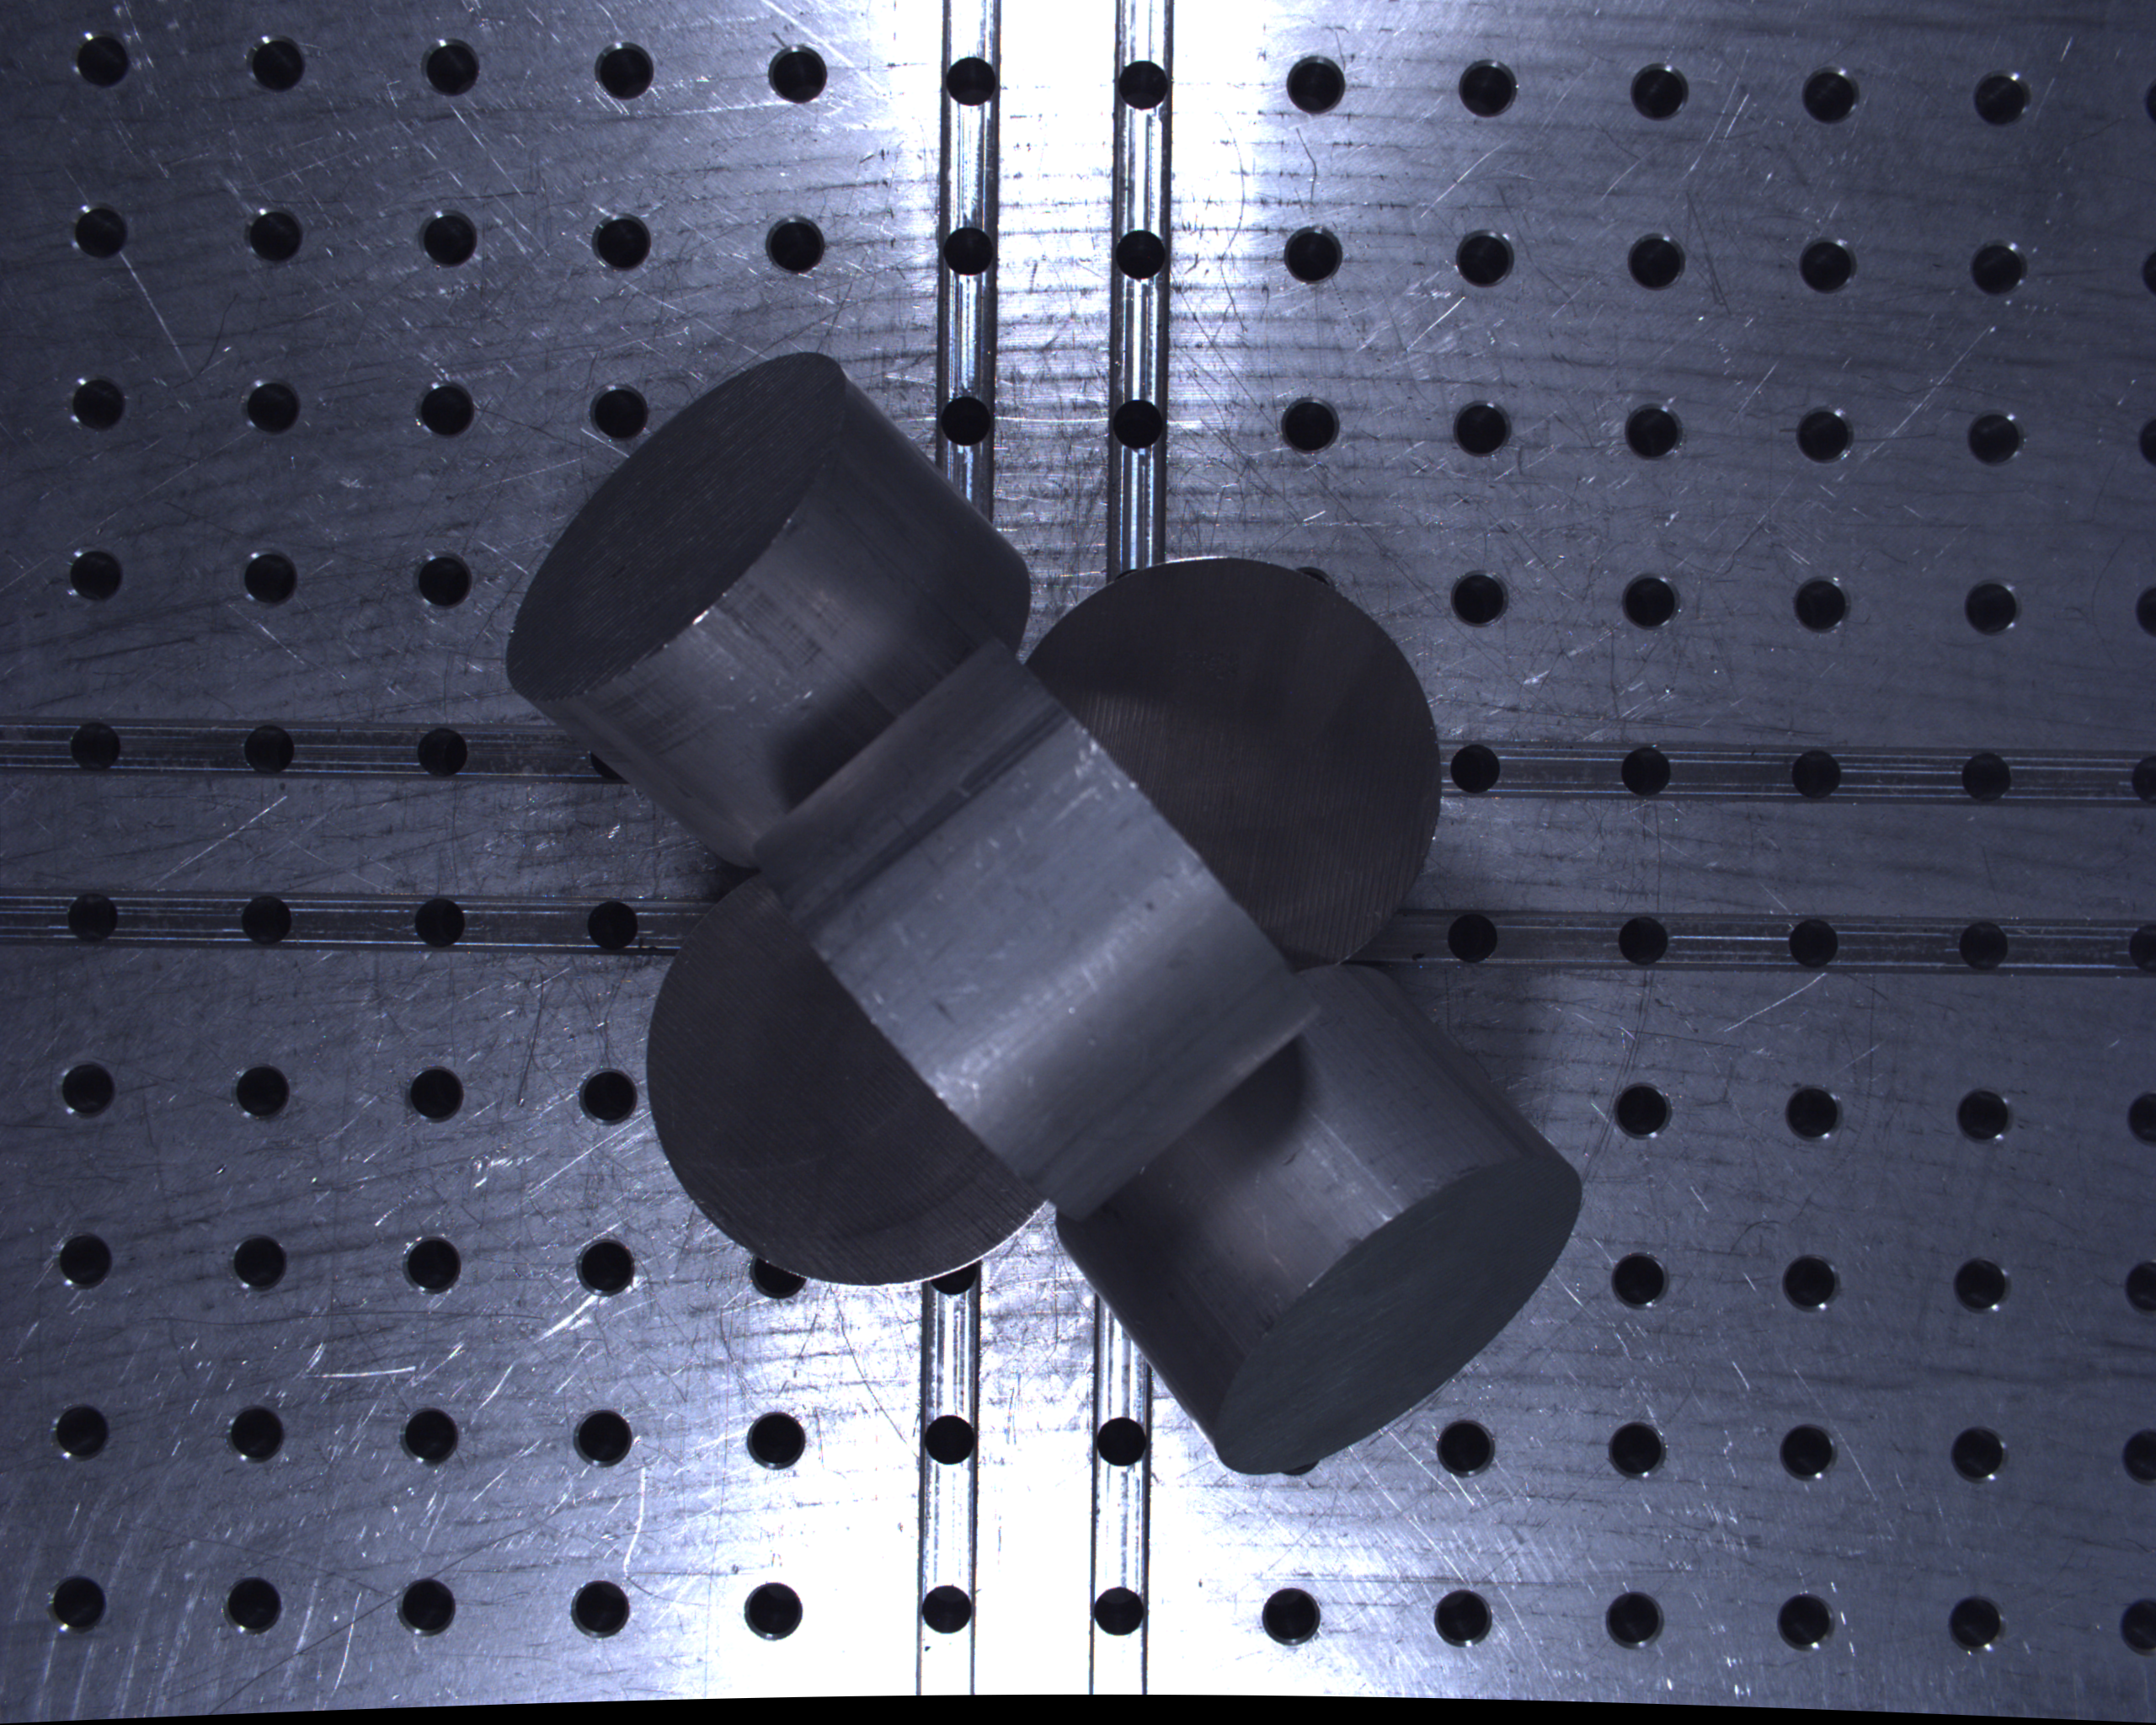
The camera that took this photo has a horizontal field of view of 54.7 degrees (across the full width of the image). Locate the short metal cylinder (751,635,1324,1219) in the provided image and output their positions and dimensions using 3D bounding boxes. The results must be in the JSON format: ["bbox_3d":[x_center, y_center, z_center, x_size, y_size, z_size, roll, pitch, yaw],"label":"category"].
[{"bbox_3d":[-0.006,0.010,0.334,0.050,0.080,0.080,-41,91,0],"label":"short metal cylinder"}]

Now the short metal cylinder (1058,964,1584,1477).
[{"bbox_3d":[0.044,0.065,0.379,0.080,0.080,0.050,-41,55,0],"label":"short metal cylinder"}]

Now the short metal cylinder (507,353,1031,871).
[{"bbox_3d":[-0.056,-0.045,0.378,0.080,0.080,0.050,-46,125,0],"label":"short metal cylinder"}]

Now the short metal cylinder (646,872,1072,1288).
[{"bbox_3d":[-0.037,0.037,0.400,0.081,0.050,0.079,0,90,-1],"label":"short metal cylinder"}]

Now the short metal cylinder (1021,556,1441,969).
[{"bbox_3d":[0.025,-0.016,0.400,0.081,0.050,0.079,0,90,-1],"label":"short metal cylinder"}]
